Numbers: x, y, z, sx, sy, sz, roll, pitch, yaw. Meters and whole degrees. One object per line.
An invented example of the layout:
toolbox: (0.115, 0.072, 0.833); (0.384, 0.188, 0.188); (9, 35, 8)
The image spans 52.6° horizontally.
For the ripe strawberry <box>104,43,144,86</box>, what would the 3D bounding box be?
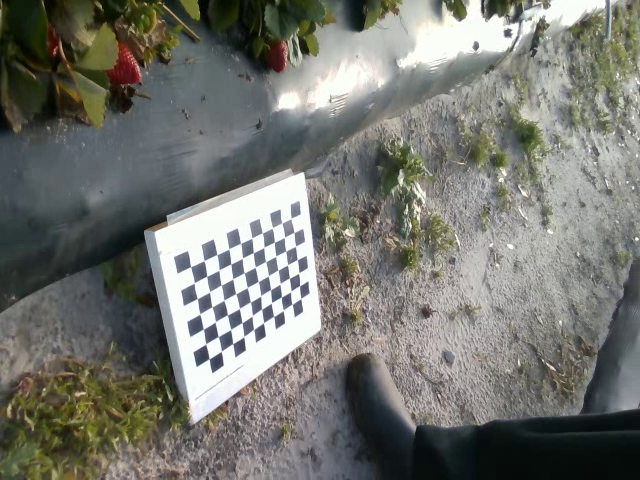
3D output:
ripe strawberry: (-0.137, -0.116, 0.434); (0.030, 0.032, 0.025); (38, -27, -27)

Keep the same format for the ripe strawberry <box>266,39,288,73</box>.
ripe strawberry: (-0.037, -0.165, 0.569); (0.021, 0.036, 0.029); (0, 17, 44)
